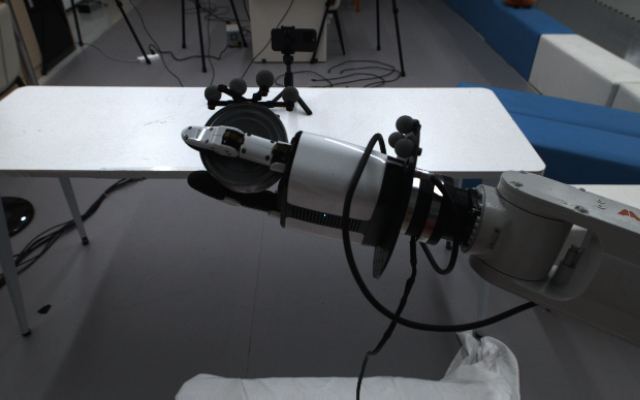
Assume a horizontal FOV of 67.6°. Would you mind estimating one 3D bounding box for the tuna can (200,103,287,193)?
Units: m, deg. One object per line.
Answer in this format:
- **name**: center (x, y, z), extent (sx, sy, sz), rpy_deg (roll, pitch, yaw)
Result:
- **tuna can**: center (-0.071, -0.051, 0.481), extent (0.085, 0.034, 0.085), rpy_deg (-1, 77, 4)
